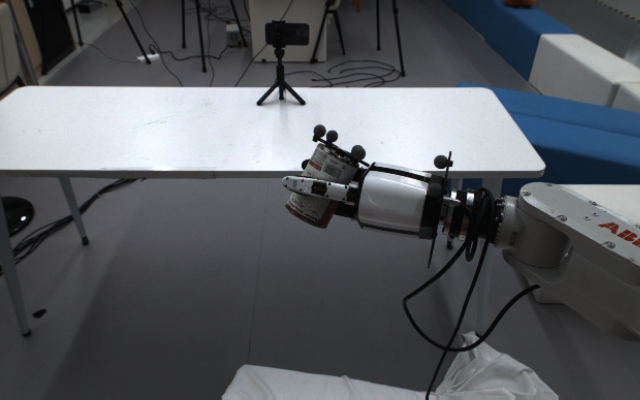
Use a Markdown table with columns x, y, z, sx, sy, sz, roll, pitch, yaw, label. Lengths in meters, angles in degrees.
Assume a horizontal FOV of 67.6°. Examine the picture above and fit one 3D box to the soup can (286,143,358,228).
| x | y | z | sx | sy | sz | roll | pitch | yaw | label |
| --- | --- | --- | --- | --- | --- | --- | --- | --- | --- |
| 0.004 | -0.020 | 0.684 | 0.067 | 0.101 | 0.067 | 27 | 10 | -5 | soup can |
